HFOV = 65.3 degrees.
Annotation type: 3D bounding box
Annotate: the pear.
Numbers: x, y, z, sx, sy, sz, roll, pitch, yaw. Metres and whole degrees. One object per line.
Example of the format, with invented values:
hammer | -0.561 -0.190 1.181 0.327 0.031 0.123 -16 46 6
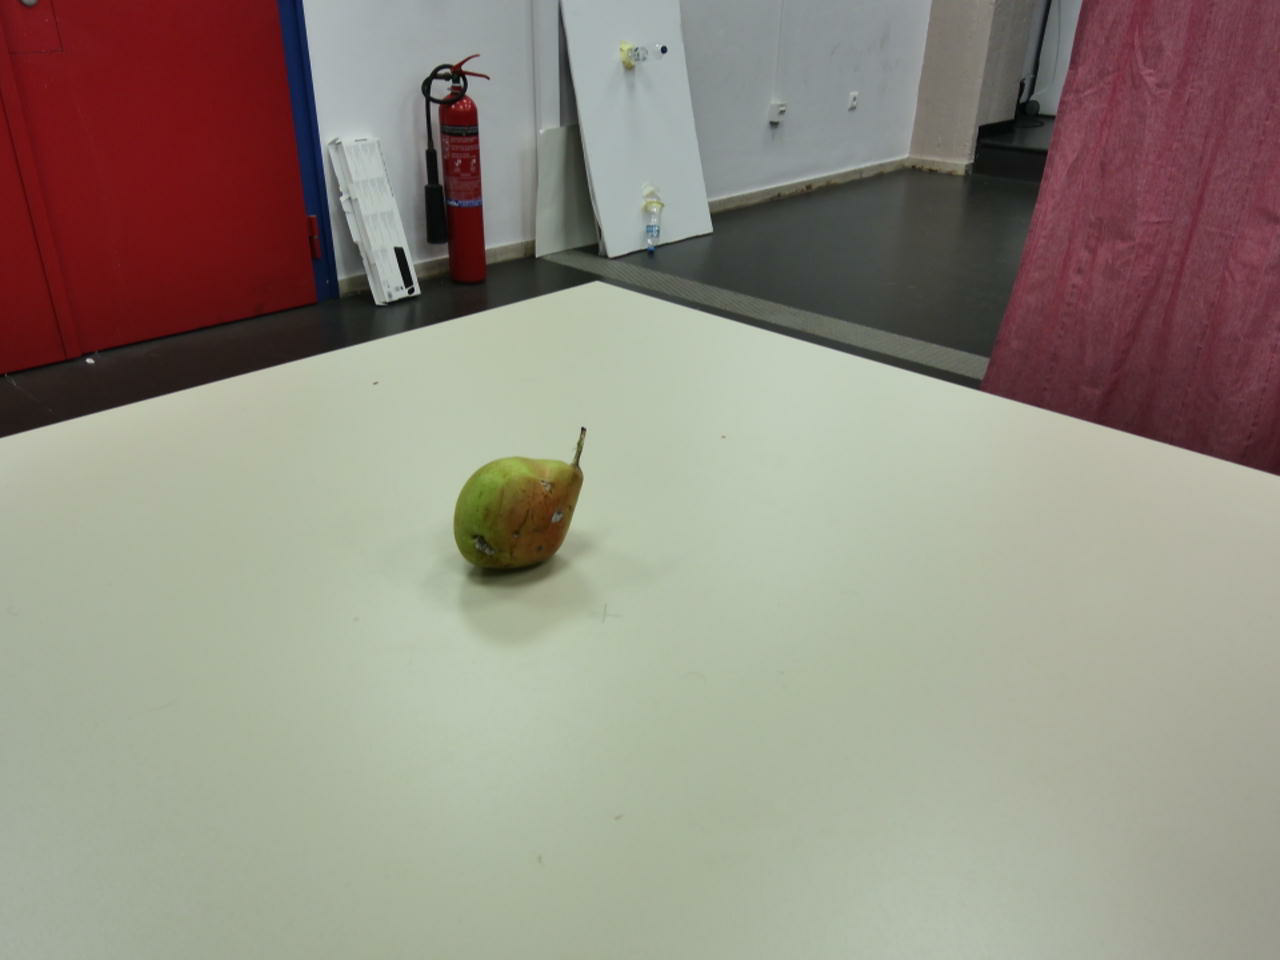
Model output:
pear | -0.068 0.015 0.559 0.070 0.069 0.068 2 25 3
